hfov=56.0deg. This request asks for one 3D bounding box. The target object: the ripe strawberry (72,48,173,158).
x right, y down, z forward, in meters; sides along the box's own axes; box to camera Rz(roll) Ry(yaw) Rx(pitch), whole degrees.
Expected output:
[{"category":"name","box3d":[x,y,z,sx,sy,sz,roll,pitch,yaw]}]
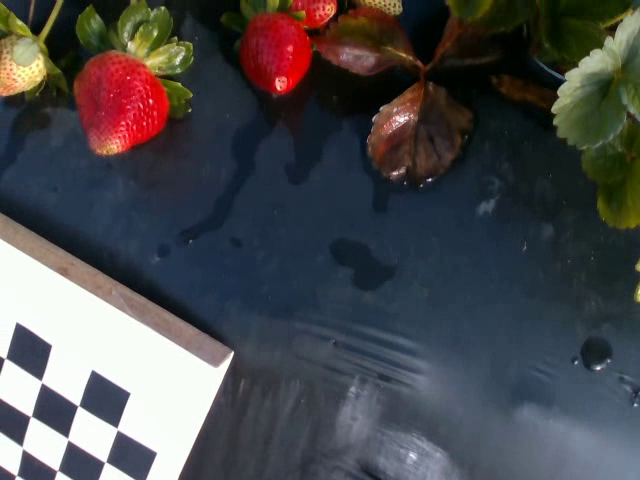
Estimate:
[{"category":"ripe strawberry","box3d":[-0.106,-0.067,0.303,0.050,0.065,0.050,-11,-44,22]}]

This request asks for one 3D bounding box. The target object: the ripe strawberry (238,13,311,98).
[{"category":"ripe strawberry","box3d":[-0.024,-0.092,0.314,0.044,0.055,0.041,-36,-49,23]}]
